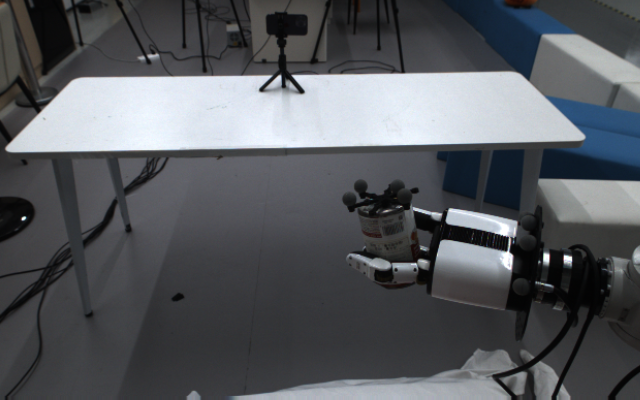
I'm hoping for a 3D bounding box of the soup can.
[{"bbox_3d":[0.091,0.050,0.600,0.067,0.101,0.067,-13,20,5],"label":"soup can"}]
